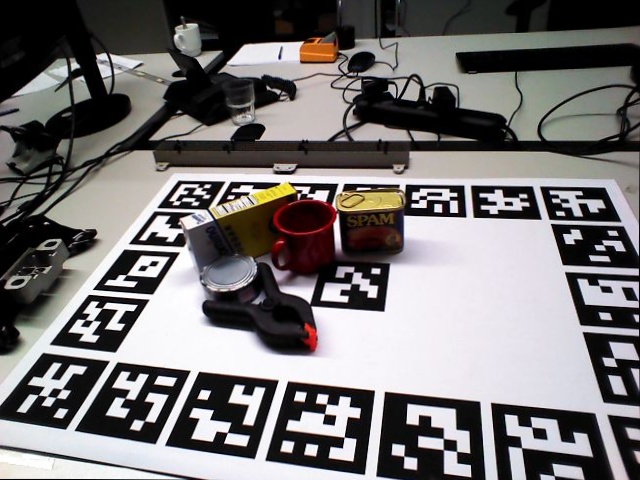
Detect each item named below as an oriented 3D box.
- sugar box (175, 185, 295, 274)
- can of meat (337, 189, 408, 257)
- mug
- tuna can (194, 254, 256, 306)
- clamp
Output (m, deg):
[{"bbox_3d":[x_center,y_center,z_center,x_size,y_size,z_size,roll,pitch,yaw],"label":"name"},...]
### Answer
[{"bbox_3d":[-0.117,-0.012,0.779,0.176,0.093,0.045,-21,38,-19],"label":"sugar box"},{"bbox_3d":[0.078,-0.024,0.767,0.102,0.084,0.057,-2,36,5],"label":"can of meat"},{"bbox_3d":[-0.030,-0.002,0.745,0.094,0.082,0.116,20,47,31],"label":"mug"},{"bbox_3d":[-0.134,0.059,0.727,0.086,0.034,0.085,-5,39,4],"label":"tuna can"},{"bbox_3d":[-0.068,0.099,0.671,0.121,0.037,0.165,-31,47,-34],"label":"clamp"}]
